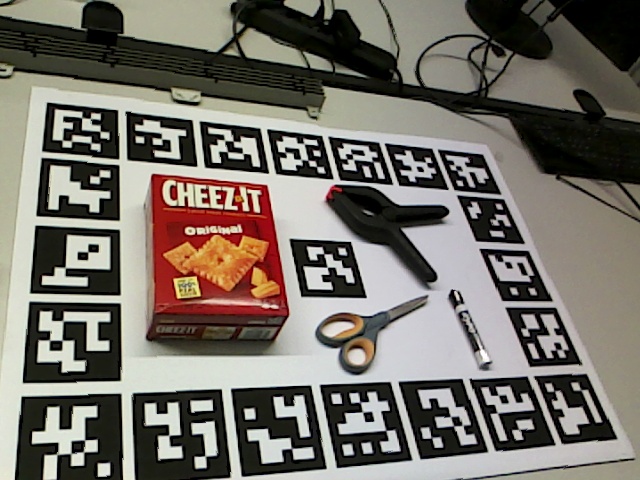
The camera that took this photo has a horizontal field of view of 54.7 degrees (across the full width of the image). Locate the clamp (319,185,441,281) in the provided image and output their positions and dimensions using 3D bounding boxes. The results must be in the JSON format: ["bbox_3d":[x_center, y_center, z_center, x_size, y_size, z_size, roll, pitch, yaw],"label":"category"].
[{"bbox_3d":[0.093,-0.034,1.004,0.202,0.036,0.165,26,45,-2],"label":"clamp"}]

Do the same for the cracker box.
[{"bbox_3d":[-0.136,0.022,0.816,0.163,0.072,0.214,3,51,-21],"label":"cracker box"}]

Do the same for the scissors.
[{"bbox_3d":[0.087,0.111,0.874,0.202,0.016,0.088,-26,65,-40],"label":"scissors"}]

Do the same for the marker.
[{"bbox_3d":[0.219,0.119,0.923,0.019,0.019,0.121,-1,52,-24],"label":"marker"}]
